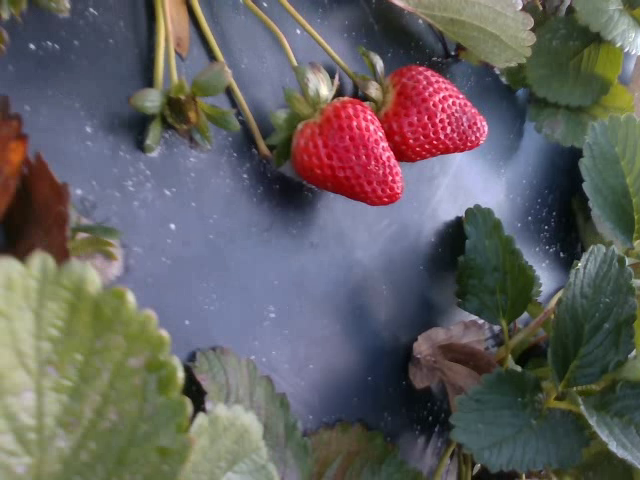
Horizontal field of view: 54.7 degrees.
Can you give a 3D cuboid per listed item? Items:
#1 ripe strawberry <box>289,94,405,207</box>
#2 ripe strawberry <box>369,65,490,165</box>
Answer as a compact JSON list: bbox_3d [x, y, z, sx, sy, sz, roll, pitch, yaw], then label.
[{"bbox_3d":[0.016,-0.037,0.274,0.048,0.056,0.041,-42,1,-39],"label":"ripe strawberry"},{"bbox_3d":[0.059,-0.062,0.312,0.064,0.058,0.051,17,-21,-9],"label":"ripe strawberry"}]
